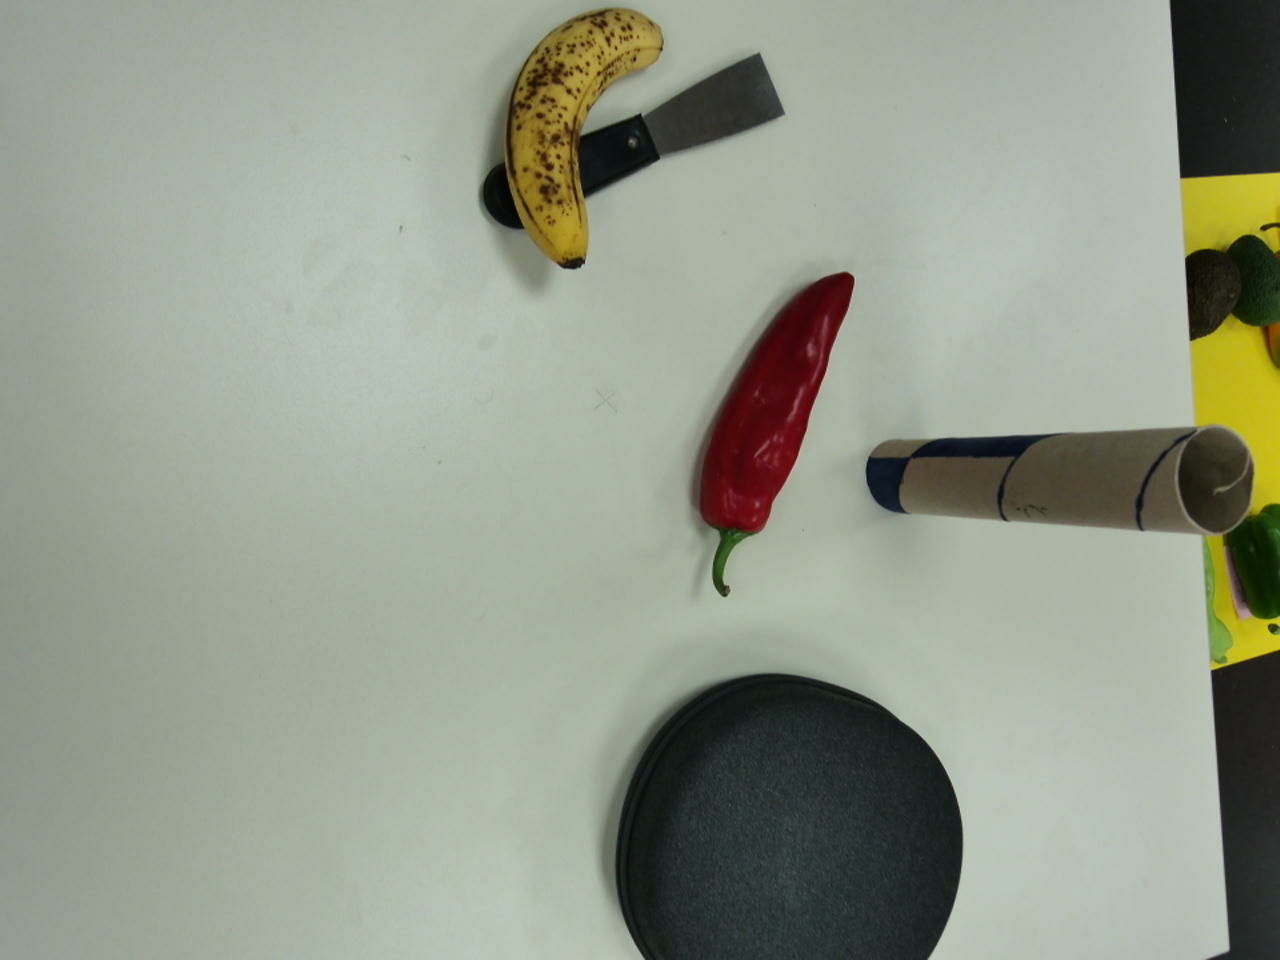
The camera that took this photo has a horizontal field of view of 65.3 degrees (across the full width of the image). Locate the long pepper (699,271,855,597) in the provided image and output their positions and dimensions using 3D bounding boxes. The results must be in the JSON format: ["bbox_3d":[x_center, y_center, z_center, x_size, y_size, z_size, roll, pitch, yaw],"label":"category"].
[{"bbox_3d":[0.075,-0.035,0.578,0.050,0.043,0.211,28,80,-20],"label":"long pepper"}]
